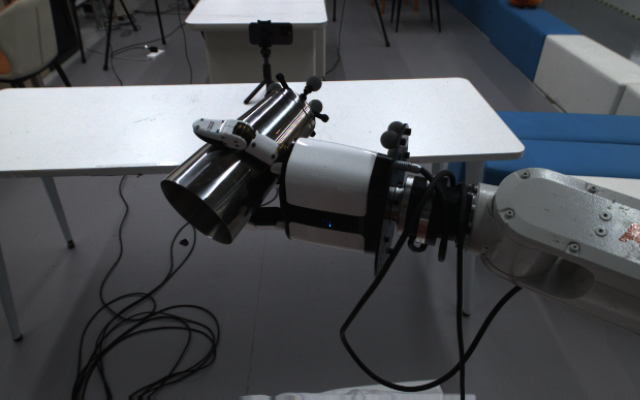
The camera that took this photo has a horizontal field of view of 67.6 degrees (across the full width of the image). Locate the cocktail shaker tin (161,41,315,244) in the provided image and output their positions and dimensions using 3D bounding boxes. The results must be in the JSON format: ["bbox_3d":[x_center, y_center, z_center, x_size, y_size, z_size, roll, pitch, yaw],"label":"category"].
[{"bbox_3d":[-0.079,-0.051,0.526,0.093,0.093,0.170,23,57,27],"label":"cocktail shaker tin"}]
